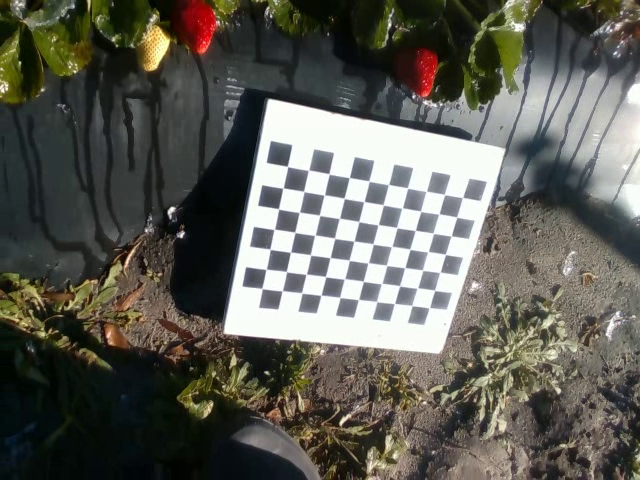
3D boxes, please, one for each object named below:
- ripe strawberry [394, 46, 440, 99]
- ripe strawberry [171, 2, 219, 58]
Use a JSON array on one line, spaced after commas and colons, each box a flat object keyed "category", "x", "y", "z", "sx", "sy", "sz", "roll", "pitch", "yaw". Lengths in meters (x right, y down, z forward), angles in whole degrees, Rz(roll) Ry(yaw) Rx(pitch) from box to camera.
[{"category": "ripe strawberry", "x": 0.104, "y": -0.174, "z": 0.619, "sx": 0.048, "sy": 0.061, "sz": 0.044, "roll": 1, "pitch": -13, "yaw": -16}, {"category": "ripe strawberry", "x": -0.115, "y": -0.193, "z": 0.558, "sx": 0.042, "sy": 0.061, "sz": 0.046, "roll": -6, "pitch": -21, "yaw": -13}]
